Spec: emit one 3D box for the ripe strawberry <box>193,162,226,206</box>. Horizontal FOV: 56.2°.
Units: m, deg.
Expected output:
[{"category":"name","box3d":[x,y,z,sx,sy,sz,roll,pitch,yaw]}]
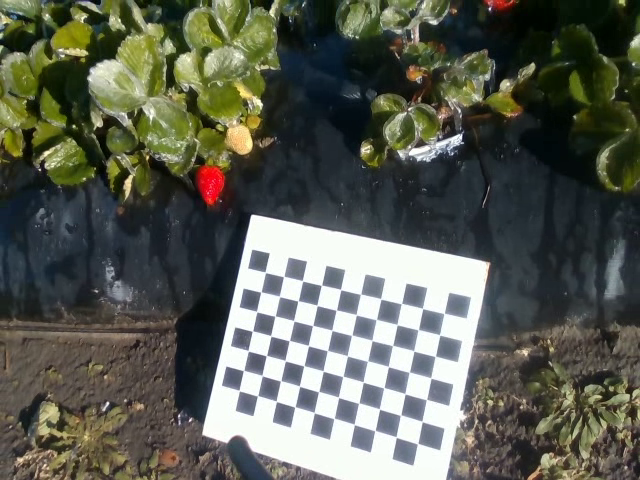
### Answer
[{"category":"ripe strawberry","box3d":[-0.142,-0.068,0.737,0.041,0.052,0.040,-6,-15,12]}]
